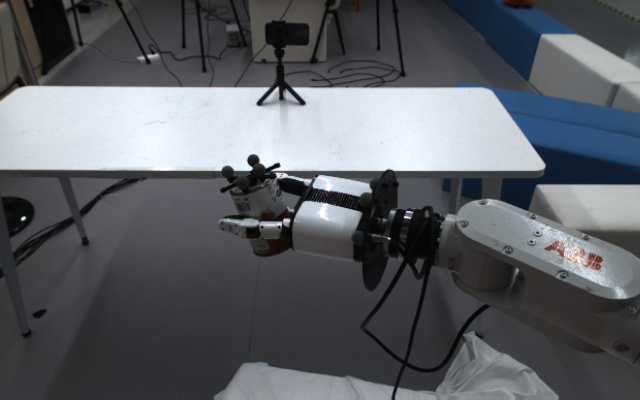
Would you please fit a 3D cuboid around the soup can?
[{"bbox_3d":[-0.077,0.020,0.674,0.067,0.101,0.067,-16,23,7],"label":"soup can"}]
